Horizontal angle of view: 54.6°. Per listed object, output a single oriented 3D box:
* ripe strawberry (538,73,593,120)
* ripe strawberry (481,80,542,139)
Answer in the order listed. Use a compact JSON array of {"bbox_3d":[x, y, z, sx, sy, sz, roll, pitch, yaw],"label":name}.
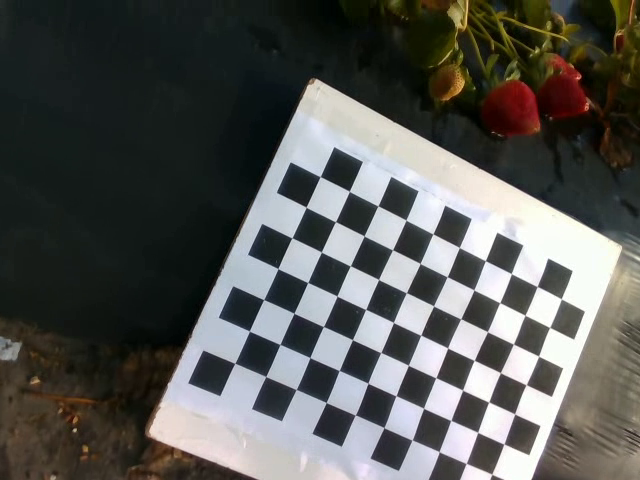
[{"bbox_3d":[0.226,-0.128,0.571,0.055,0.045,0.042,42,-14,42],"label":"ripe strawberry"},{"bbox_3d":[0.164,-0.107,0.514,0.050,0.050,0.065,-15,38,-12],"label":"ripe strawberry"}]
